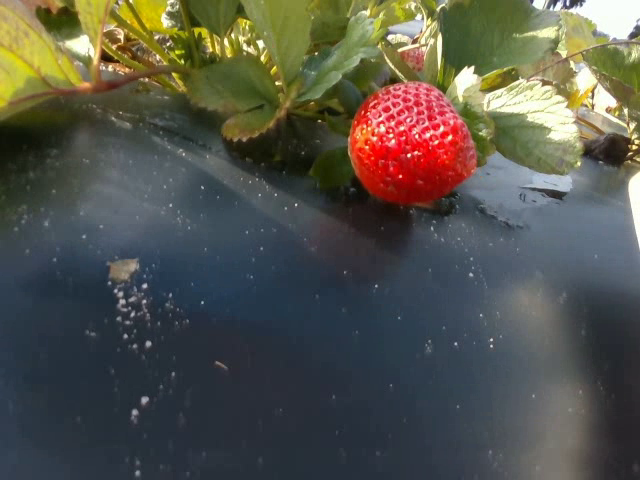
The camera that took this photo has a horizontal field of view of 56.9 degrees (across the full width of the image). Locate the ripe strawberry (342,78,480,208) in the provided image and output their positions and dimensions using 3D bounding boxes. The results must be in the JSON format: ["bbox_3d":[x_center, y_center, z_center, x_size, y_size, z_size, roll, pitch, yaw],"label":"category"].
[{"bbox_3d":[0.028,-0.026,0.157,0.041,0.041,0.047,-23,20,-17],"label":"ripe strawberry"}]
